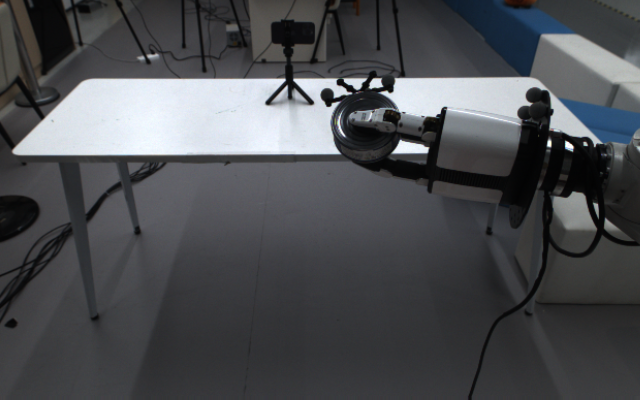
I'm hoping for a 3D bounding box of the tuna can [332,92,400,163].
[{"bbox_3d":[0.061,-0.086,0.596,0.085,0.034,0.085,-4,68,9],"label":"tuna can"}]
